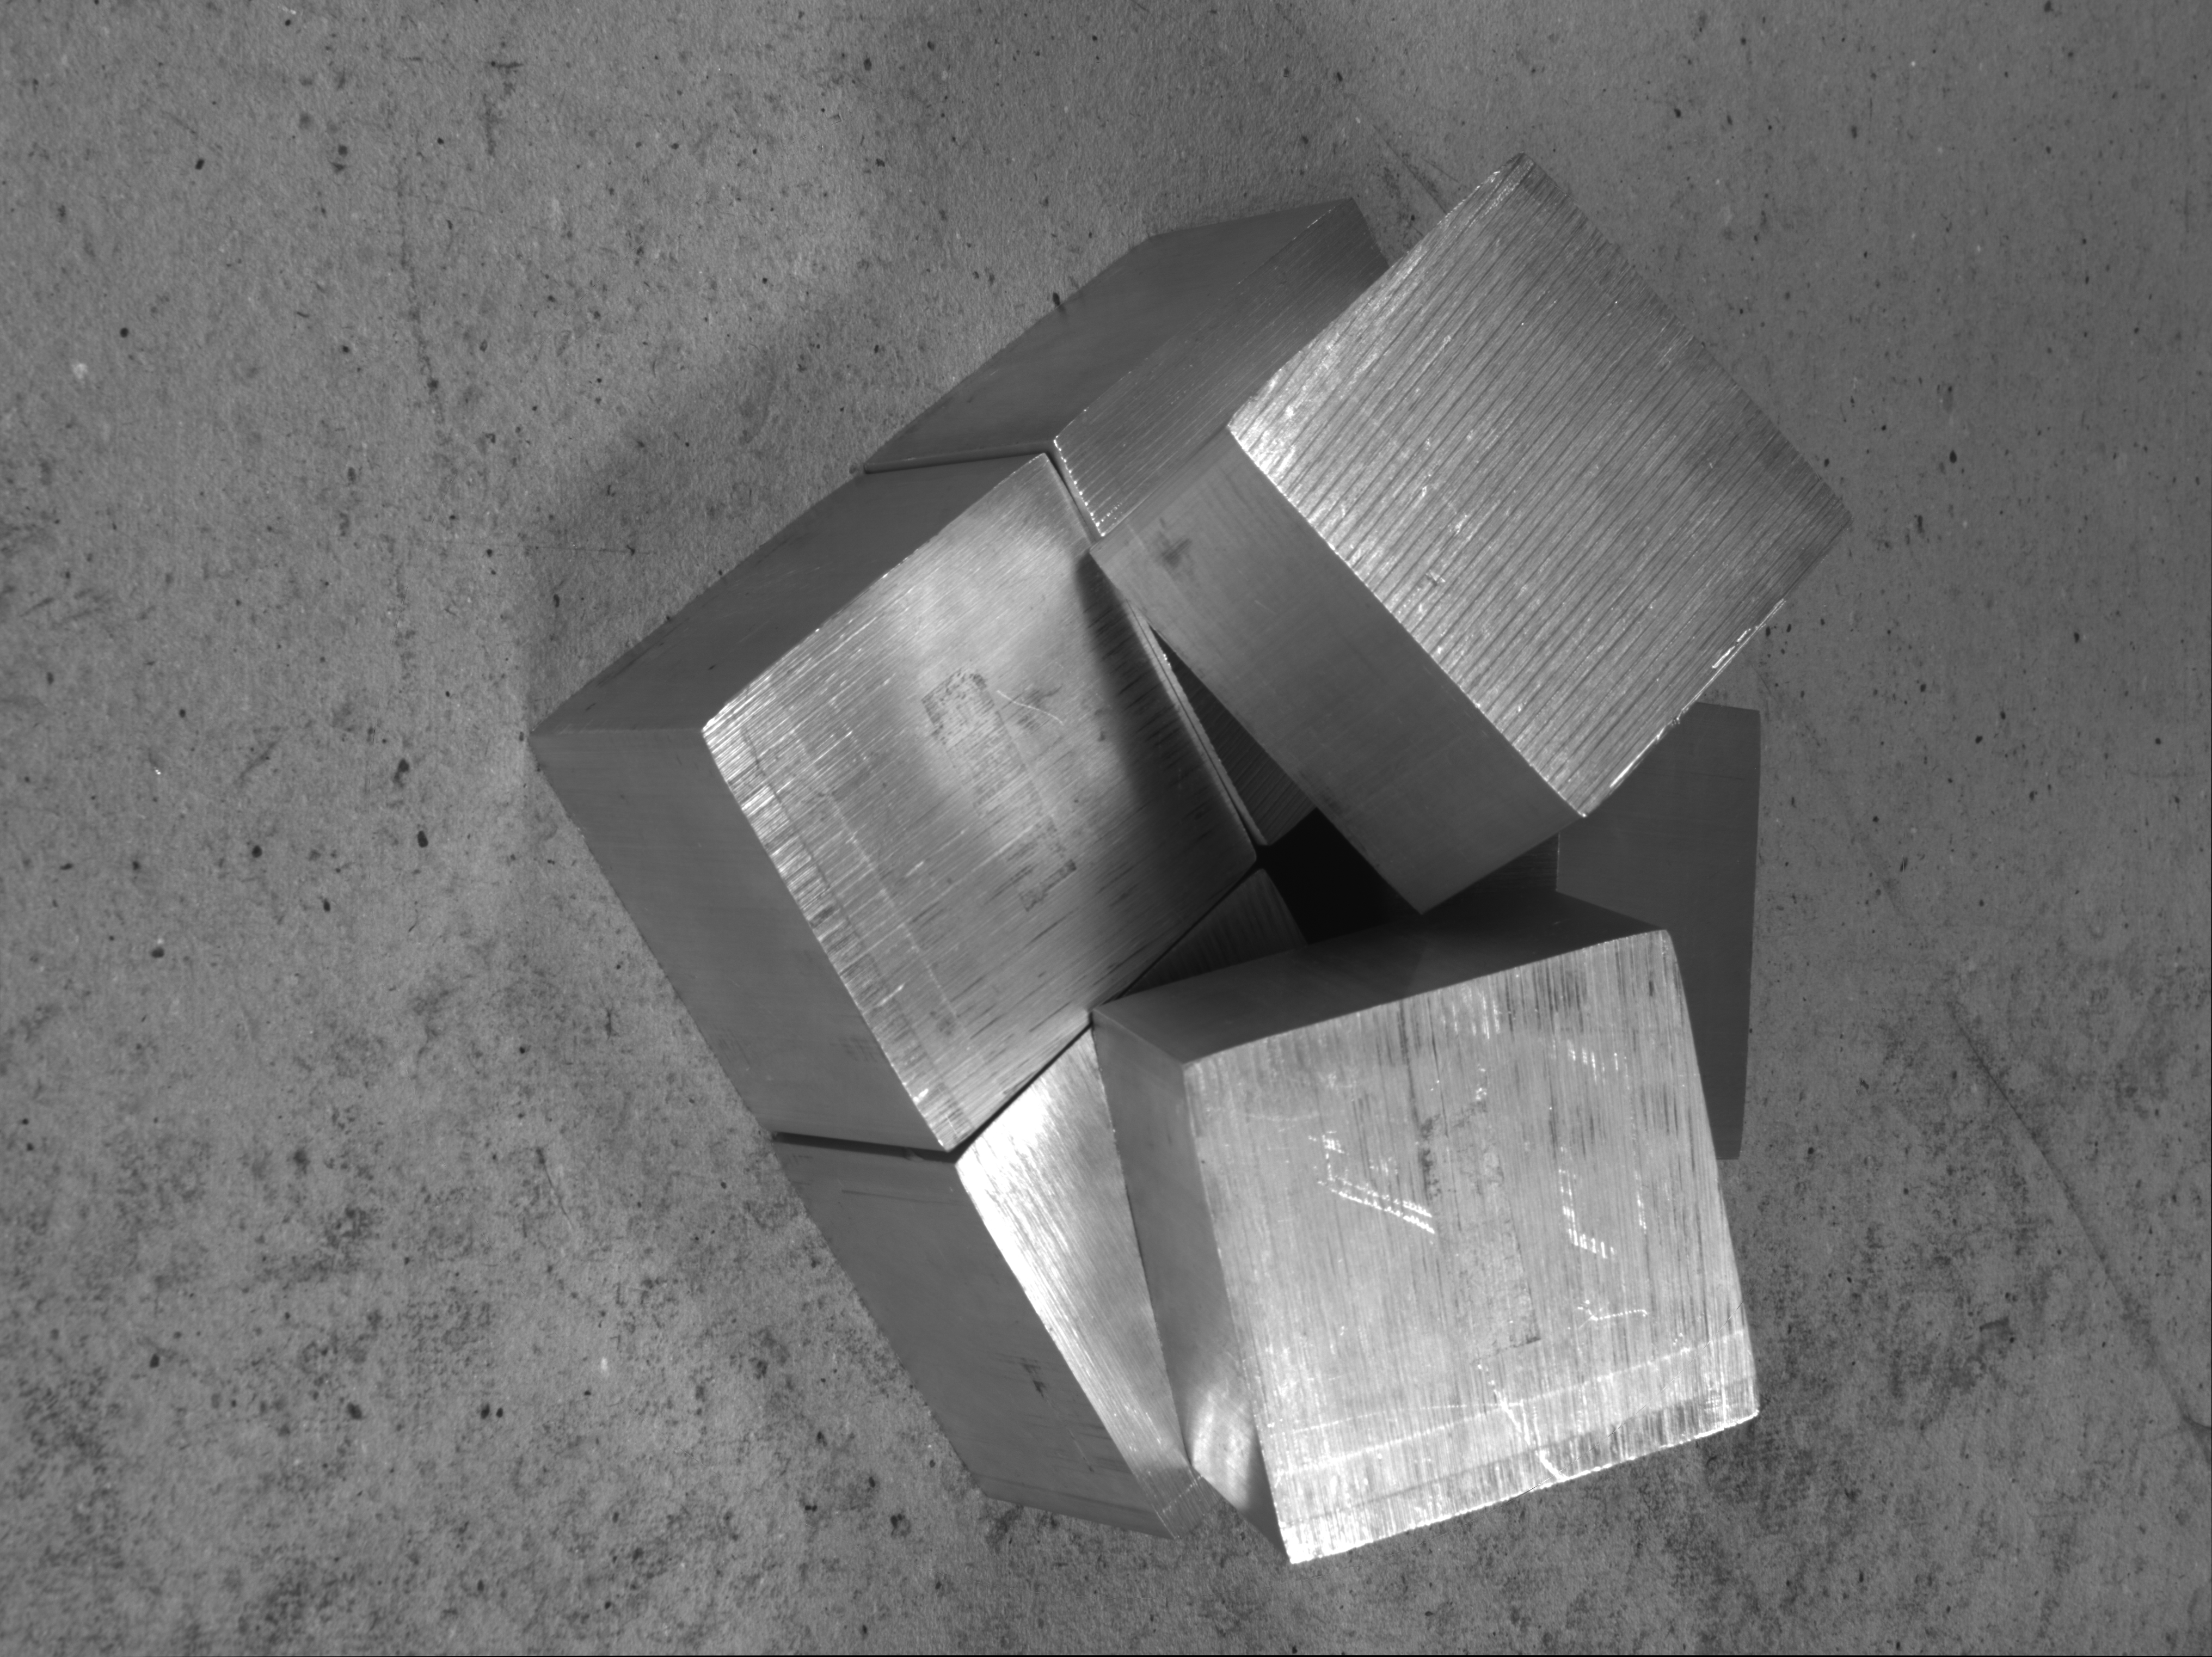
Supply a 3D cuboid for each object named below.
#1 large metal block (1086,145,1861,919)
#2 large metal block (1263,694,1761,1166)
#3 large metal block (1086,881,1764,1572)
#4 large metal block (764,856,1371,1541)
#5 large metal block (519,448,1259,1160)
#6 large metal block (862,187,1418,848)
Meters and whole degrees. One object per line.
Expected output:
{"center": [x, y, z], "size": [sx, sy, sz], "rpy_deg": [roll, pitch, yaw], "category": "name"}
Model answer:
{"center": [0.059, -0.047, 0.583], "size": [0.080, 0.050, 0.080], "rpy_deg": [47, 59, -3], "category": "large metal block"}
{"center": [0.069, 0.017, 0.658], "size": [0.050, 0.080, 0.080], "rpy_deg": [5, 87, -39], "category": "large metal block"}
{"center": [0.050, 0.060, 0.577], "size": [0.080, 0.050, 0.080], "rpy_deg": [-15, 101, -14], "category": "large metal block"}
{"center": [0.002, 0.061, 0.623], "size": [0.080, 0.050, 0.080], "rpy_deg": [-43, 116, -32], "category": "large metal block"}
{"center": [-0.033, -0.004, 0.593], "size": [0.080, 0.050, 0.080], "rpy_deg": [-43, 116, -32], "category": "large metal block"}
{"center": [0.018, -0.052, 0.633], "size": [0.080, 0.050, 0.080], "rpy_deg": [-43, 116, -32], "category": "large metal block"}
